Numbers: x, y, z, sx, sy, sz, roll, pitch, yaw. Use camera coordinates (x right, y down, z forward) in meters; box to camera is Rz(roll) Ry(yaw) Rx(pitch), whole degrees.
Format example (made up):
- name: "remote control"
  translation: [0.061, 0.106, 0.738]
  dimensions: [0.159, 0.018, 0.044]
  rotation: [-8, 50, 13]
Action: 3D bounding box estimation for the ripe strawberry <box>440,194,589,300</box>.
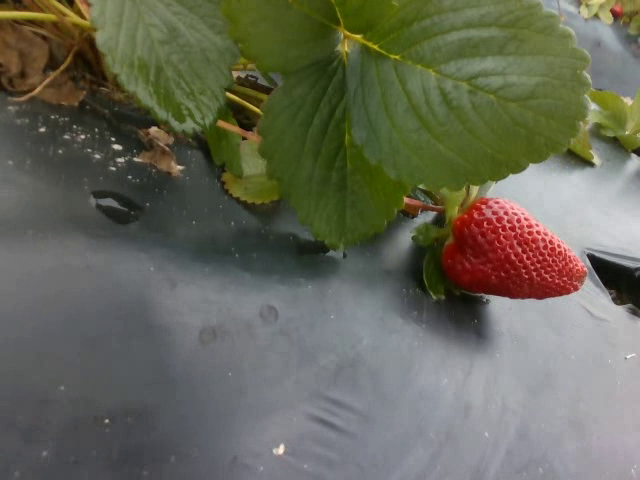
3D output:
- name: "ripe strawberry"
  translation: [0.081, 0.008, 0.248]
  dimensions: [0.064, 0.046, 0.048]
  rotation: [27, -1, 23]
